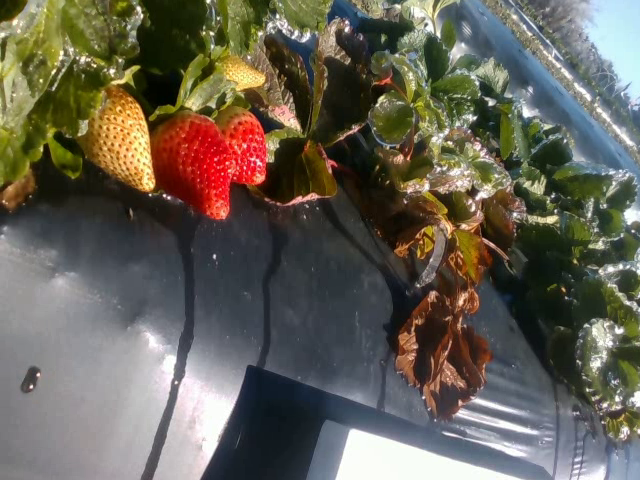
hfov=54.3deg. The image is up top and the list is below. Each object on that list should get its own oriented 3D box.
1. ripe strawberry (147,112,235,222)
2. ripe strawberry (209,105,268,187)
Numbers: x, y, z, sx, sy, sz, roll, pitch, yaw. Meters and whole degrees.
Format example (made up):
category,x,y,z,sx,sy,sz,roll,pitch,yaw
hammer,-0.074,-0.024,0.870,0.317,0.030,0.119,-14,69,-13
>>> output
category,x,y,z,sx,sy,sz,roll,pitch,yaw
ripe strawberry,-0.050,-0.026,0.258,0.036,0.052,0.040,-21,-24,-40
ripe strawberry,-0.037,-0.042,0.292,0.030,0.041,0.036,-7,35,52
